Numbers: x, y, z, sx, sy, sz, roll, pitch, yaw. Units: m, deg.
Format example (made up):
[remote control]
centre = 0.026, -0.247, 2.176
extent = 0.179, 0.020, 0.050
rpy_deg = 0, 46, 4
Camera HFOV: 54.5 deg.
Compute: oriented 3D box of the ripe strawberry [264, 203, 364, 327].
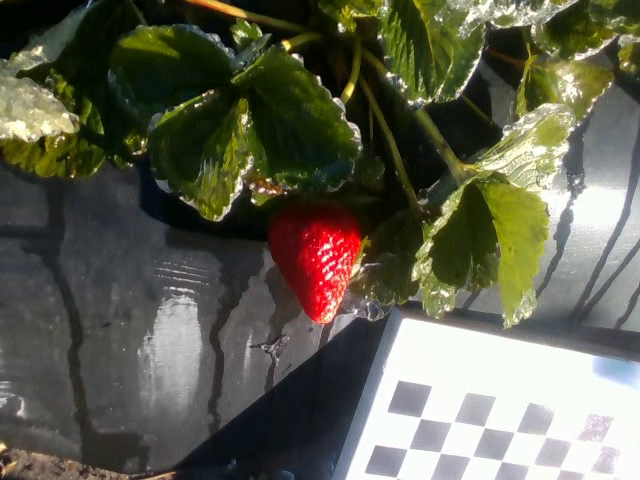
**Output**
[ripe strawberry]
centre = -0.002, 0.011, 0.251
extent = 0.041, 0.053, 0.047
rpy_deg = 6, -18, -13
